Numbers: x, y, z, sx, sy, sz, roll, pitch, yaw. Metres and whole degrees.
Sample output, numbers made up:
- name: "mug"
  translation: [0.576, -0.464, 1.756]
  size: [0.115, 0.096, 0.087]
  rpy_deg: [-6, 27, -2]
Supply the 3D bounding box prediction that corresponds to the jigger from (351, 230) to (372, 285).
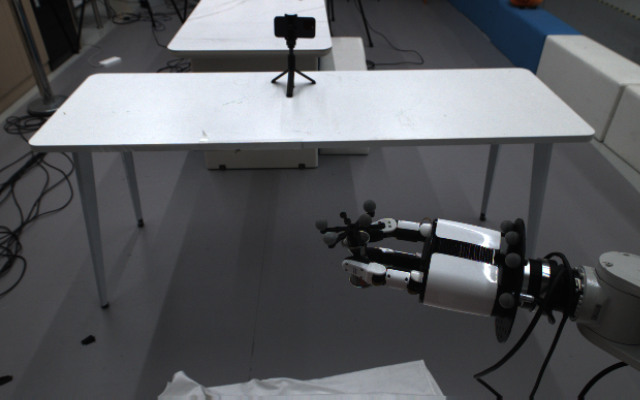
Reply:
- name: "jigger"
  translation: [0.055, 0.080, 0.662]
  size: [0.043, 0.071, 0.043]
  rpy_deg: [-12, 29, 7]
